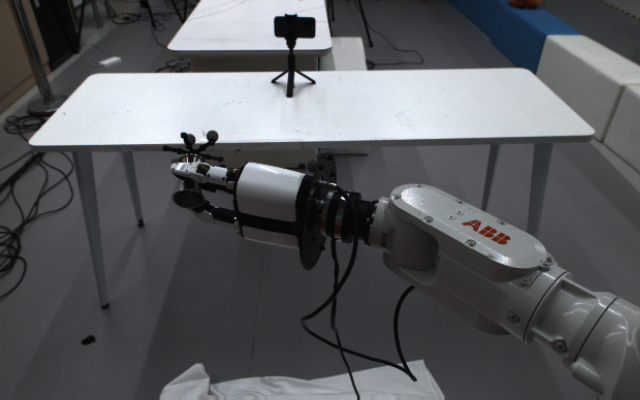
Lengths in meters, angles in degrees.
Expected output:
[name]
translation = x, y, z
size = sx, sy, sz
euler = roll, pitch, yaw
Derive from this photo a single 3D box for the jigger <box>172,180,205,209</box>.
[jigger]
translation = -0.186, -0.028, 0.691
size = 0.043, 0.043, 0.071
euler = -1, 54, -5
